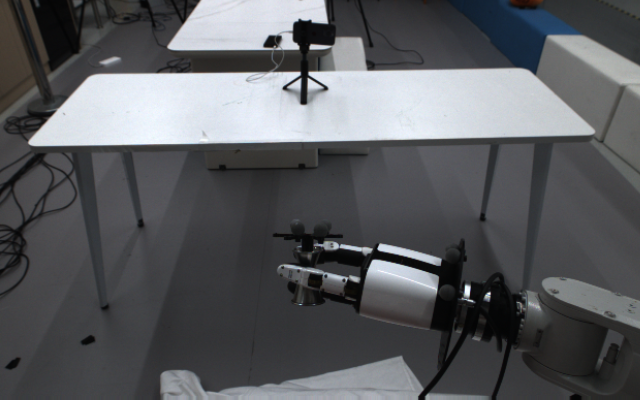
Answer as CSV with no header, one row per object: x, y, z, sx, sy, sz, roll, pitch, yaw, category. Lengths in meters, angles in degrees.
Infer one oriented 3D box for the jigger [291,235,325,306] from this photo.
-0.015,0.095,0.620,0.043,0.071,0.043,-1,2,0,jigger
